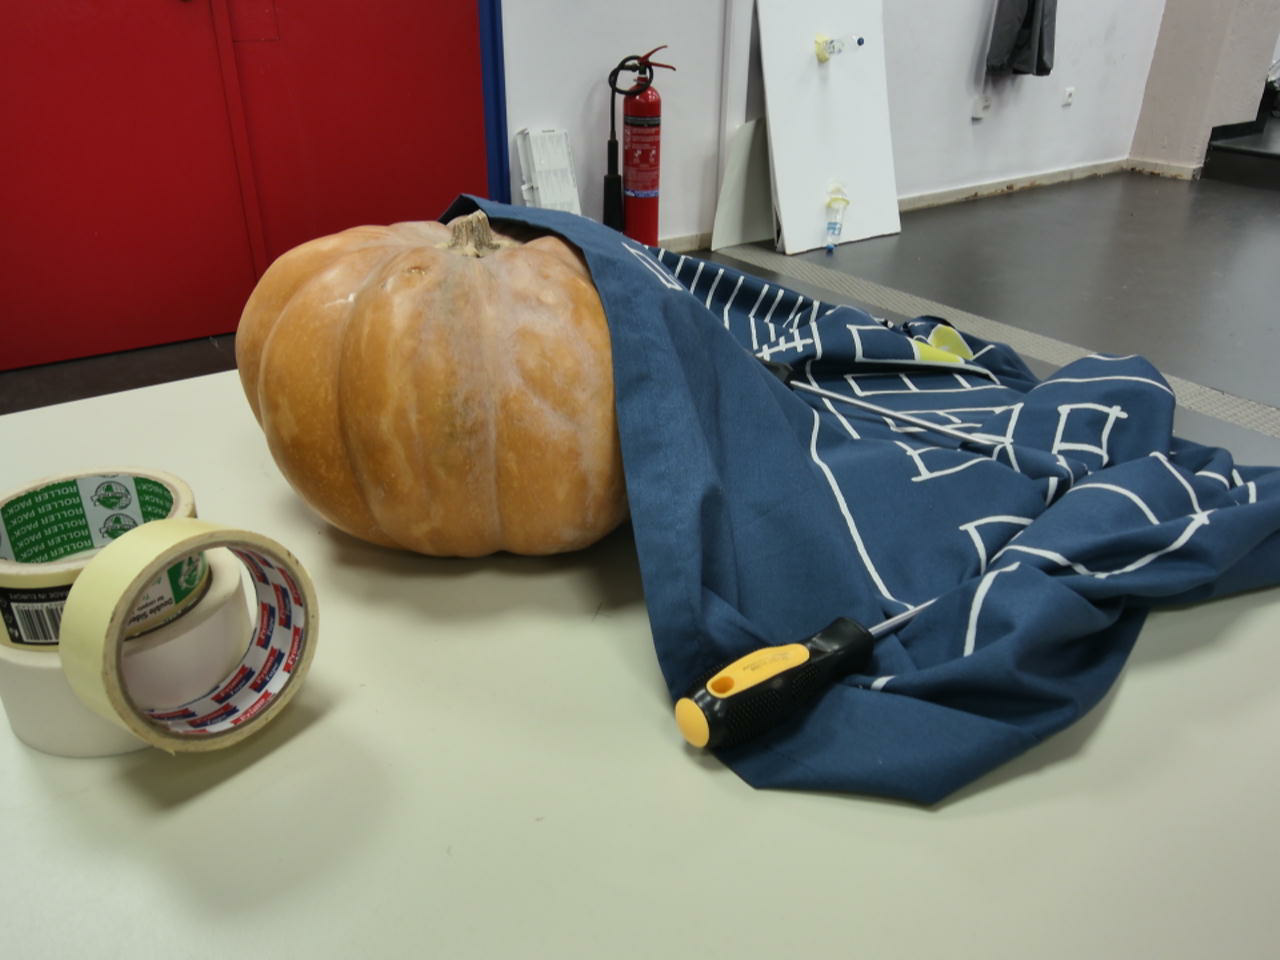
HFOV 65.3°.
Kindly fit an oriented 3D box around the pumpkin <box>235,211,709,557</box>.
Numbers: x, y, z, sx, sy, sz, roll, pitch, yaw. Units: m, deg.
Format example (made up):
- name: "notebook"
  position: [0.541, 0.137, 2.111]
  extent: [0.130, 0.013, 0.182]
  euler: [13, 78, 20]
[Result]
- name: "pumpkin"
  position: [-0.091, -0.062, 0.582]
  extent: [0.277, 0.181, 0.277]
  euler: [0, 26, 0]
